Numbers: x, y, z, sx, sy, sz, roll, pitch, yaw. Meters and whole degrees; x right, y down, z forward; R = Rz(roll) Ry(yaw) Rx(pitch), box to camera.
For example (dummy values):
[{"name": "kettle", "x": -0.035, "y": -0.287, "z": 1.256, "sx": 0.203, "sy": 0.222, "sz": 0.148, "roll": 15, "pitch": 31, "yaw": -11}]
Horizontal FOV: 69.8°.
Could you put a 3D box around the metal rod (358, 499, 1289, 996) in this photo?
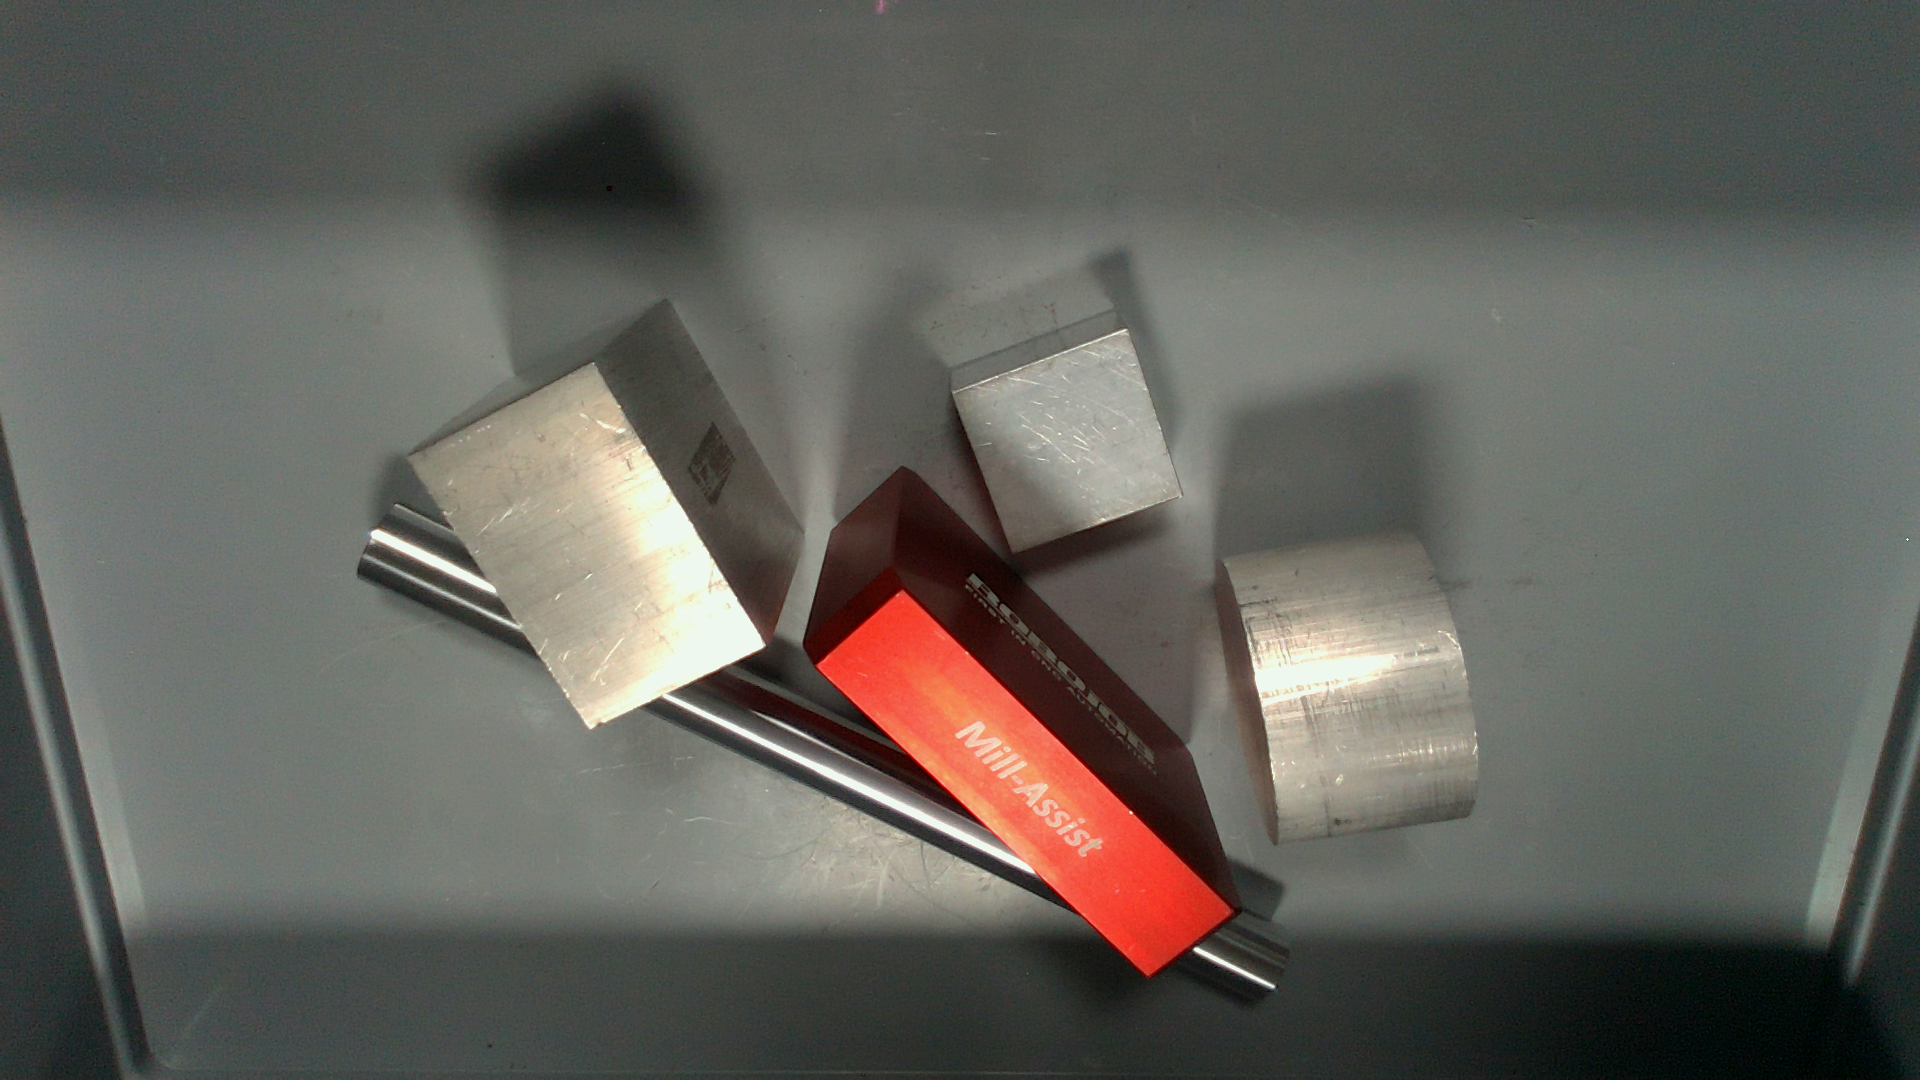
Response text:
[{"name": "metal rod", "x": -0.033, "y": 0.067, "z": 0.417, "sx": 0.300, "sy": 0.025, "sz": 0.025, "roll": 27, "pitch": 108, "yaw": -10}]

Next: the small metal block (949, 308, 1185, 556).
[{"name": "small metal block", "x": 0.029, "y": -0.030, "z": 0.381, "sx": 0.050, "sy": 0.025, "sz": 0.050, "roll": -19, "pitch": 109, "yaw": 7}]

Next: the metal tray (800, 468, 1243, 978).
[{"name": "metal tray", "x": 0.017, "y": 0.046, "z": 0.375, "sx": 0.030, "sy": 0.090, "sz": 0.130, "roll": -42, "pitch": 105, "yaw": 13}]

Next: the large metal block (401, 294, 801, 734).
[{"name": "large metal block", "x": -0.087, "y": -0.010, "z": 0.359, "sx": 0.050, "sy": 0.080, "sz": 0.080, "roll": -25, "pitch": 108, "yaw": 9}]

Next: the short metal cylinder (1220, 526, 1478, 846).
[{"name": "short metal cylinder", "x": 0.104, "y": 0.040, "z": 0.379, "sx": 0.050, "sy": 0.080, "sz": 0.080, "roll": -11, "pitch": 110, "yaw": 5}]
